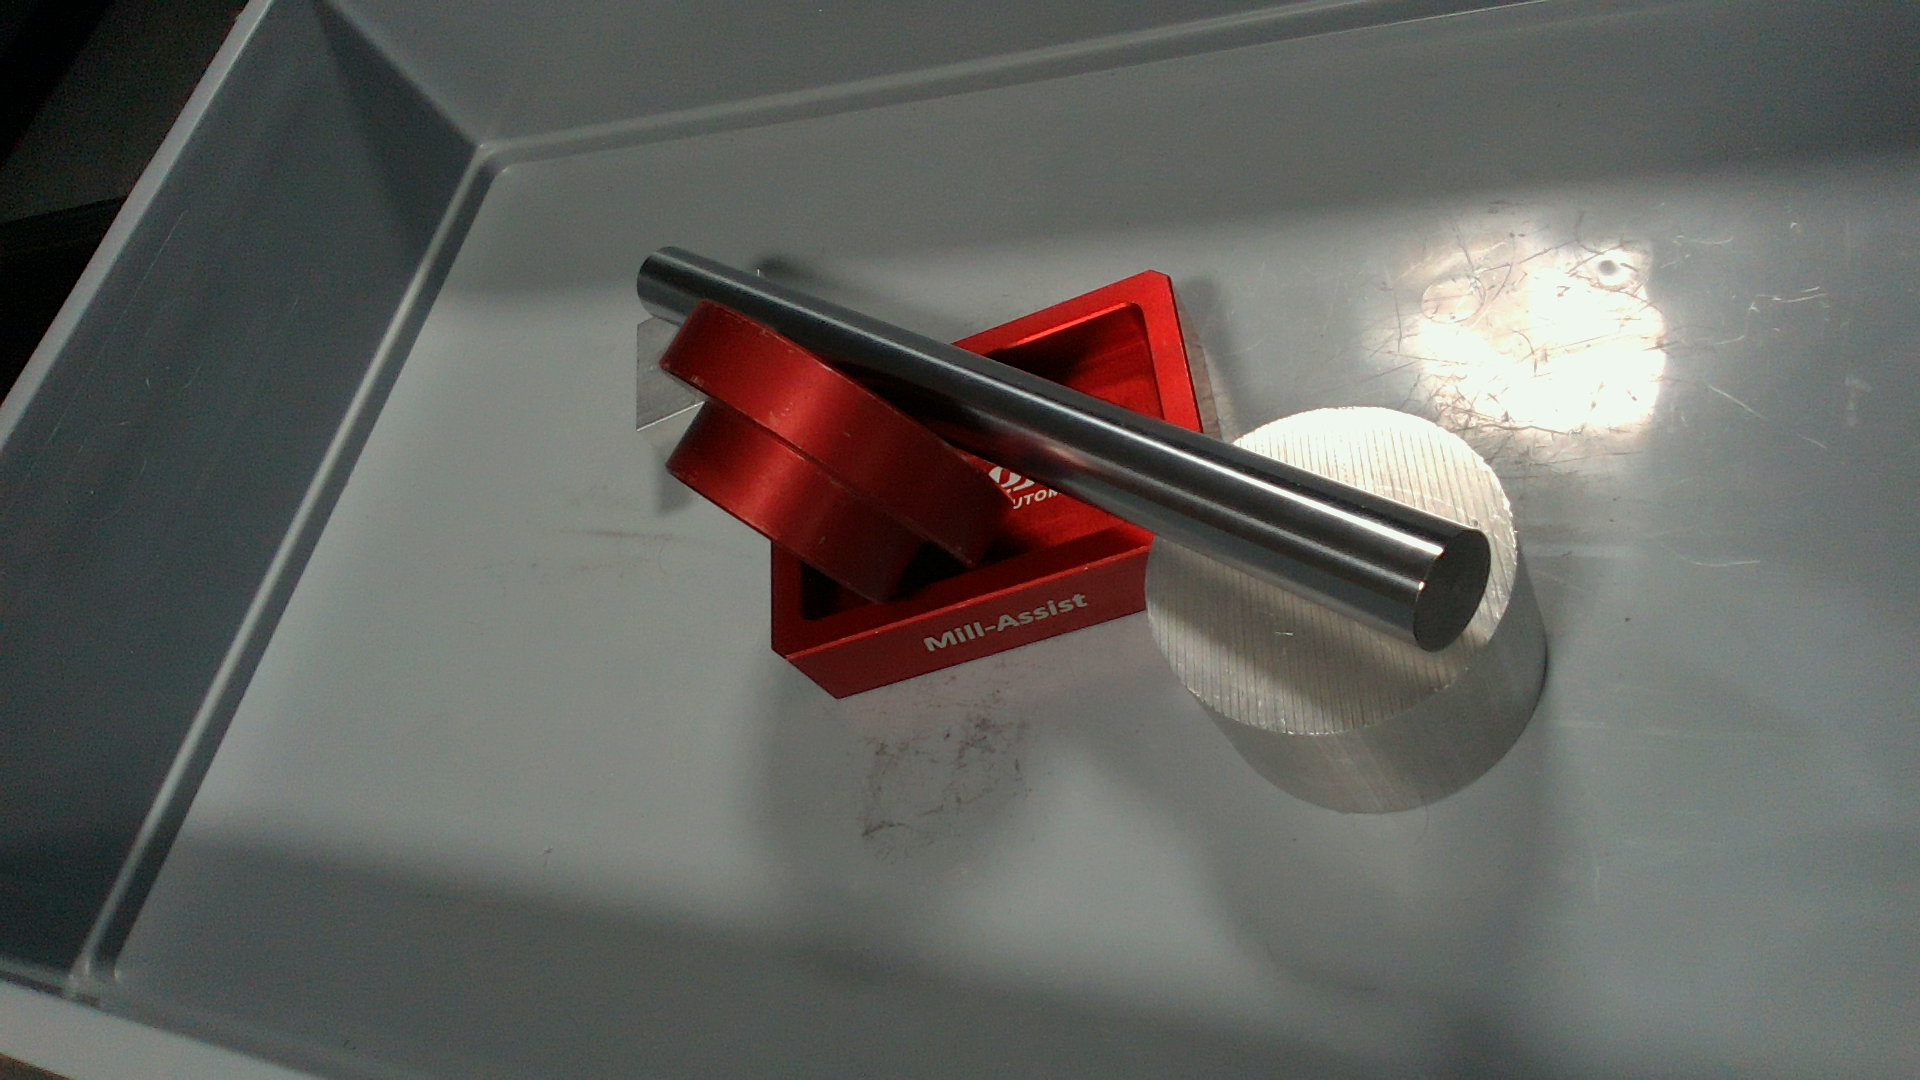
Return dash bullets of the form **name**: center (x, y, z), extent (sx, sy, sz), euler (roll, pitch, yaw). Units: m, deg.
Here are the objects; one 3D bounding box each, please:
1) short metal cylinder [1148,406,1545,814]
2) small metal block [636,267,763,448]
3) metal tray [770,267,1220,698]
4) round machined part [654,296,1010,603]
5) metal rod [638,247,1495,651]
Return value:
- **short metal cylinder**: center (0.090, 0.016, 0.318), extent (0.080, 0.050, 0.080), euler (-14, 56, 21)
- **small metal block**: center (-0.083, -0.059, 0.474), extent (0.050, 0.025, 0.050), euler (-20, 54, 16)
- **metal tray**: center (0.009, -0.016, 0.393), extent (0.130, 0.030, 0.090), euler (-18, 54, 18)
- **round machined part**: center (-0.039, -0.019, 0.361), extent (0.098, 0.098, 0.042), euler (31, 87, 38)
- **metal rod**: center (-0.002, -0.039, 0.364), extent (0.299, 0.025, 0.025), euler (27, 76, 44)
